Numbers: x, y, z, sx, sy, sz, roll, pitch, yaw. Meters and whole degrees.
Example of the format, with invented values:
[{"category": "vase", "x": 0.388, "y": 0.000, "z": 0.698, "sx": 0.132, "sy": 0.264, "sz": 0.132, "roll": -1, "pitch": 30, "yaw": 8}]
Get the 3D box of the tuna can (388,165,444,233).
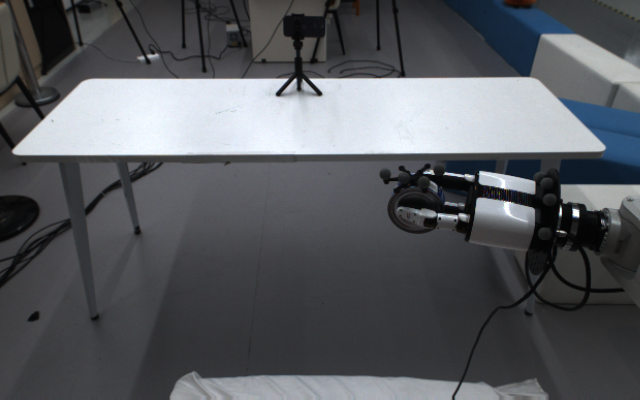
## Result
[{"category": "tuna can", "x": 0.151, "y": 0.008, "z": 0.746, "sx": 0.085, "sy": 0.085, "sz": 0.034, "roll": 10, "pitch": 32, "yaw": 11}]
